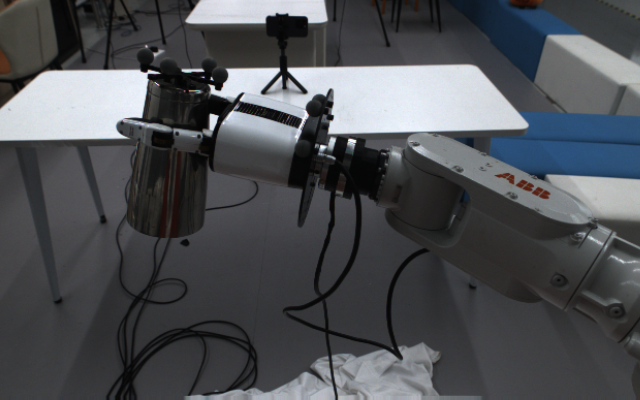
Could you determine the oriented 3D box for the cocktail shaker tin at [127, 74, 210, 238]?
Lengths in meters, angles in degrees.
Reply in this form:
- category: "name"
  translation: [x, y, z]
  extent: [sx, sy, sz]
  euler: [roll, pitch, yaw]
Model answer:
- category: "cocktail shaker tin"
  translation: [-0.167, -0.055, 0.560]
  extent: [0.093, 0.170, 0.093]
  euler: [12, 26, -6]
